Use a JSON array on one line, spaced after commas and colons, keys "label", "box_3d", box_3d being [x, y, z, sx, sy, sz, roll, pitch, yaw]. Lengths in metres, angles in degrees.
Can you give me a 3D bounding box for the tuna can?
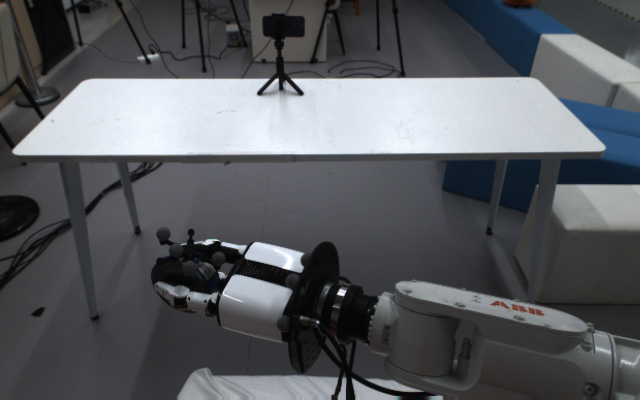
[{"label": "tuna can", "box_3d": [-0.175, 0.107, 0.640, 0.085, 0.085, 0.034, 13, 29, 15]}]
